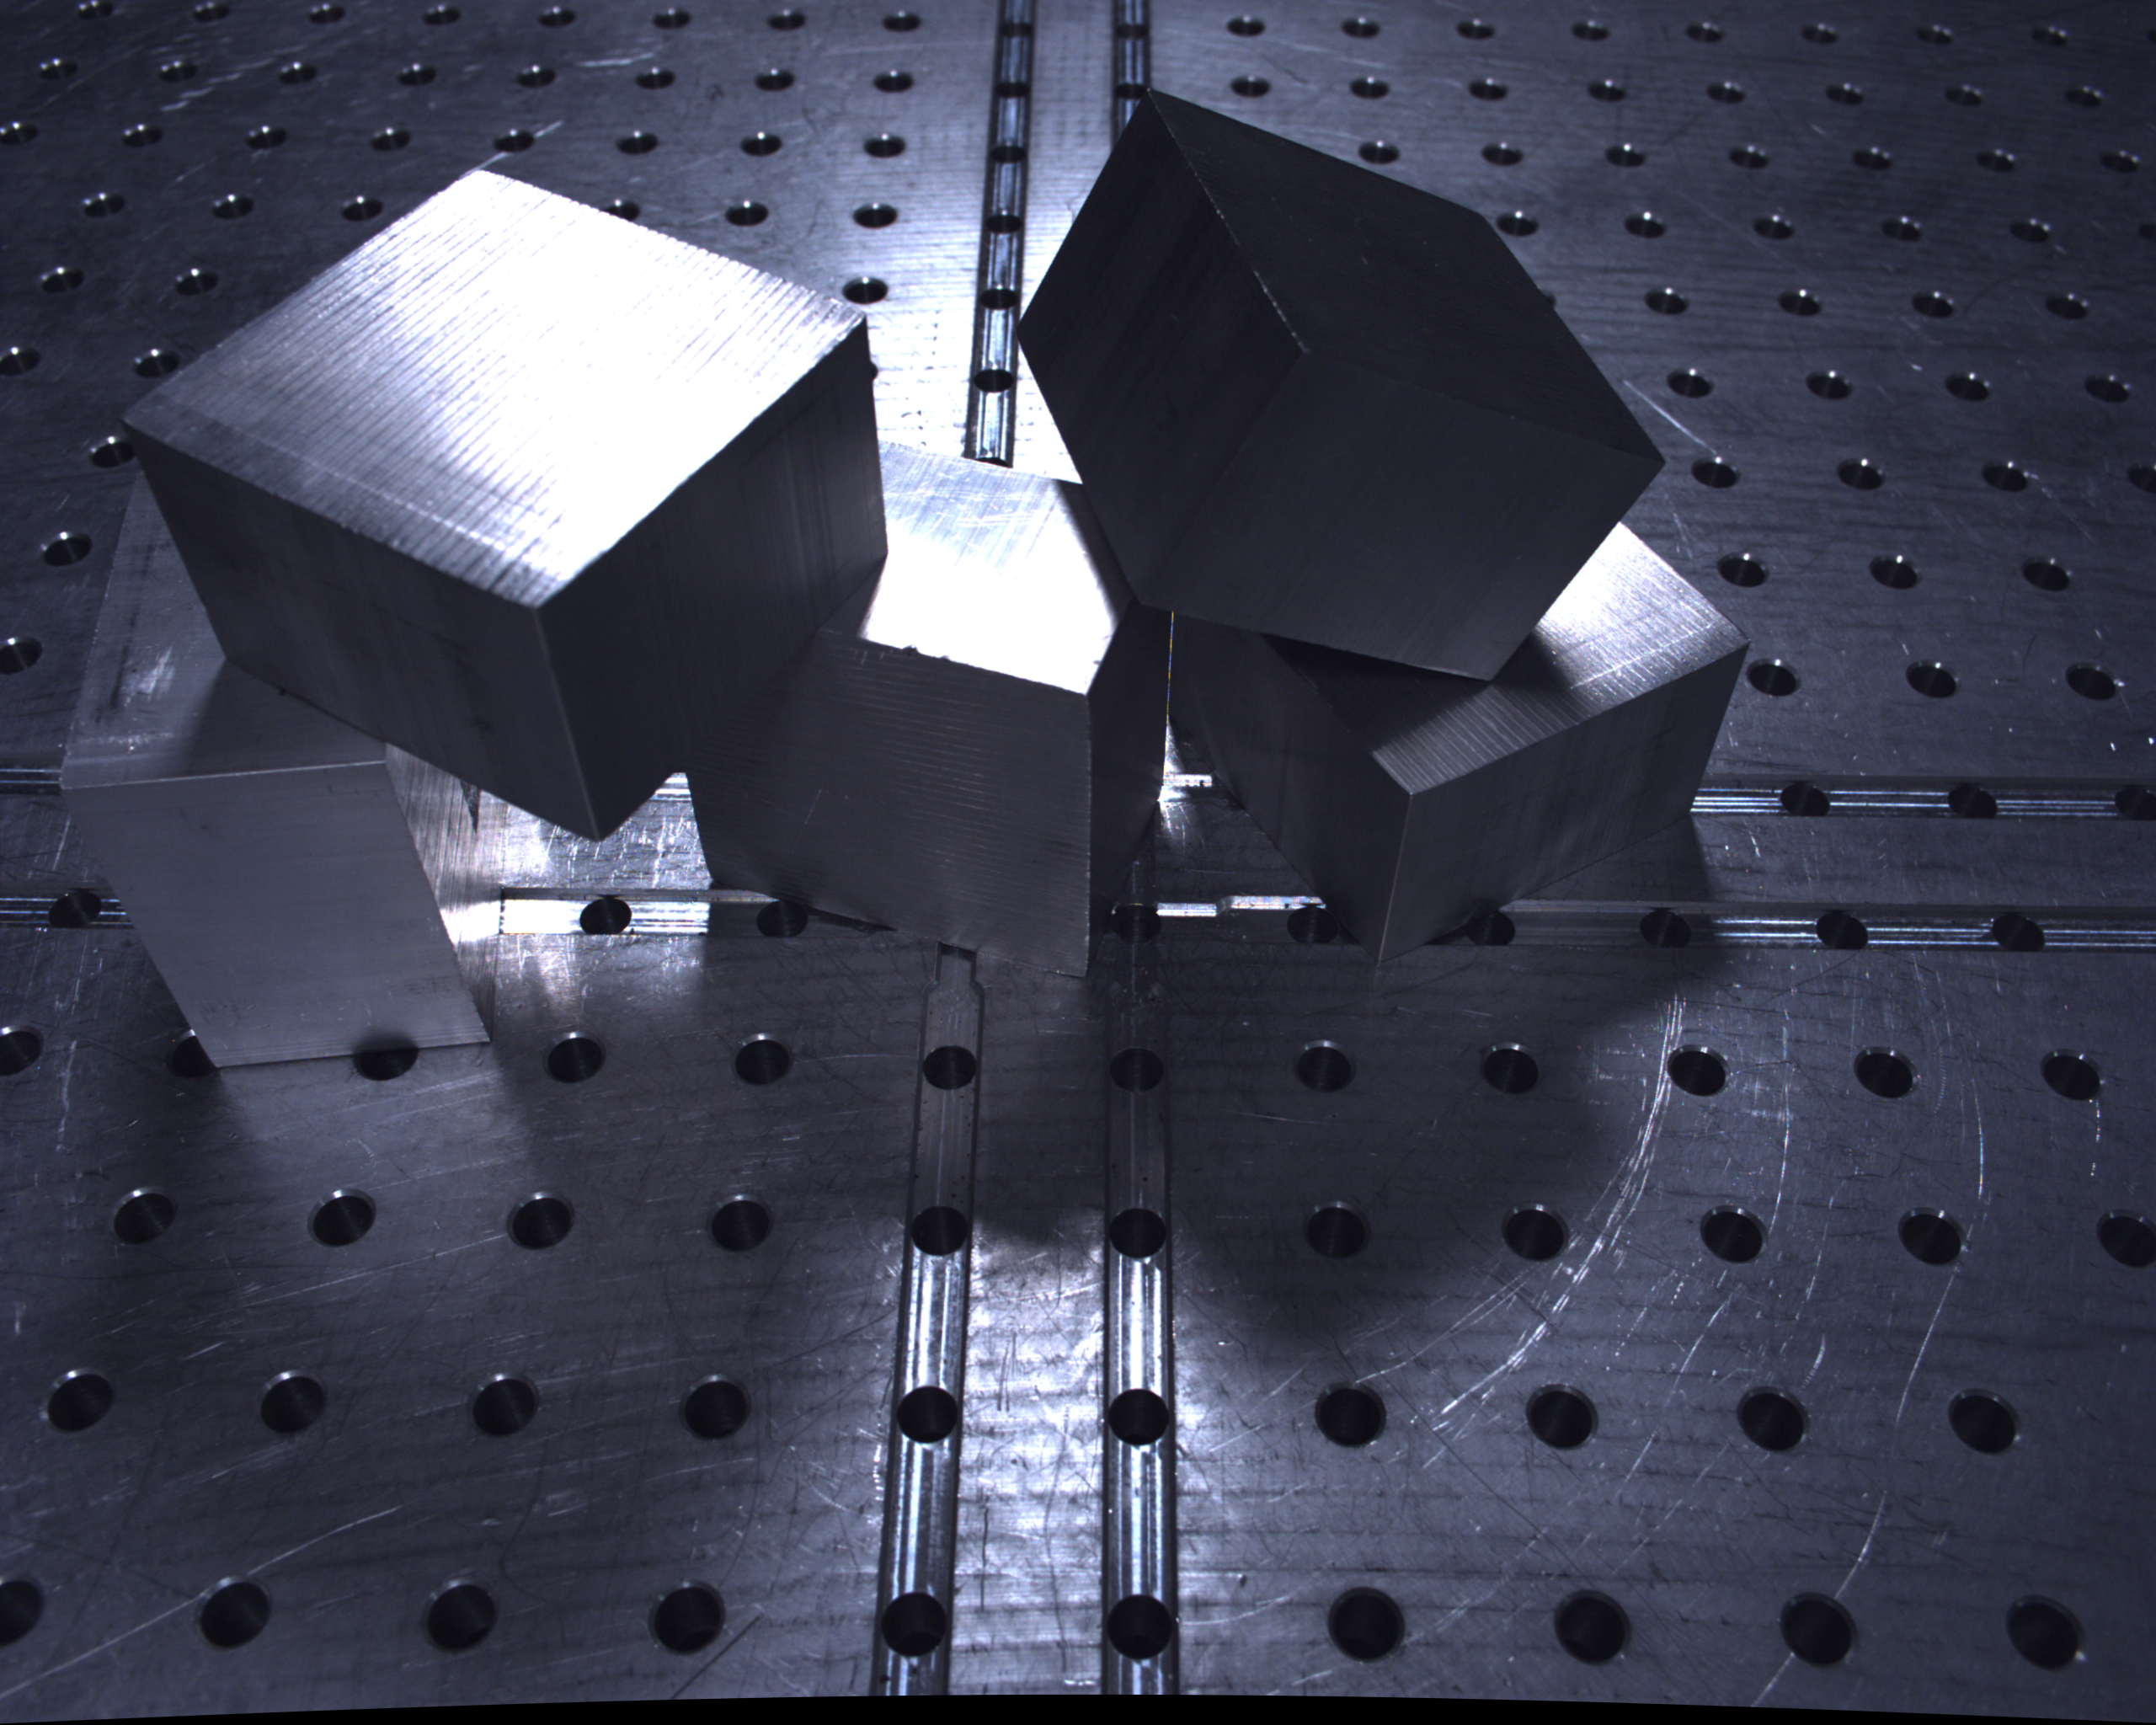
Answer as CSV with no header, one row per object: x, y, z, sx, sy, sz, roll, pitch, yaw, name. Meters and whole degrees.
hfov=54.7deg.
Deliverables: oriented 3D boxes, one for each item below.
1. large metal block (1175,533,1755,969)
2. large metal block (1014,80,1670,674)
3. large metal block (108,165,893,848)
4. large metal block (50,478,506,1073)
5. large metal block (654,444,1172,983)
0.073,-0.037,0.423,0.081,0.050,0.080,-24,54,-19,large metal block
0.045,-0.086,0.375,0.081,0.050,0.080,8,44,-32,large metal block
-0.088,-0.060,0.335,0.080,0.050,0.080,25,54,19,large metal block
-0.141,-0.019,0.385,0.050,0.080,0.080,-5,50,-4,large metal block
-0.028,-0.030,0.396,0.080,0.080,0.050,15,52,11,large metal block
